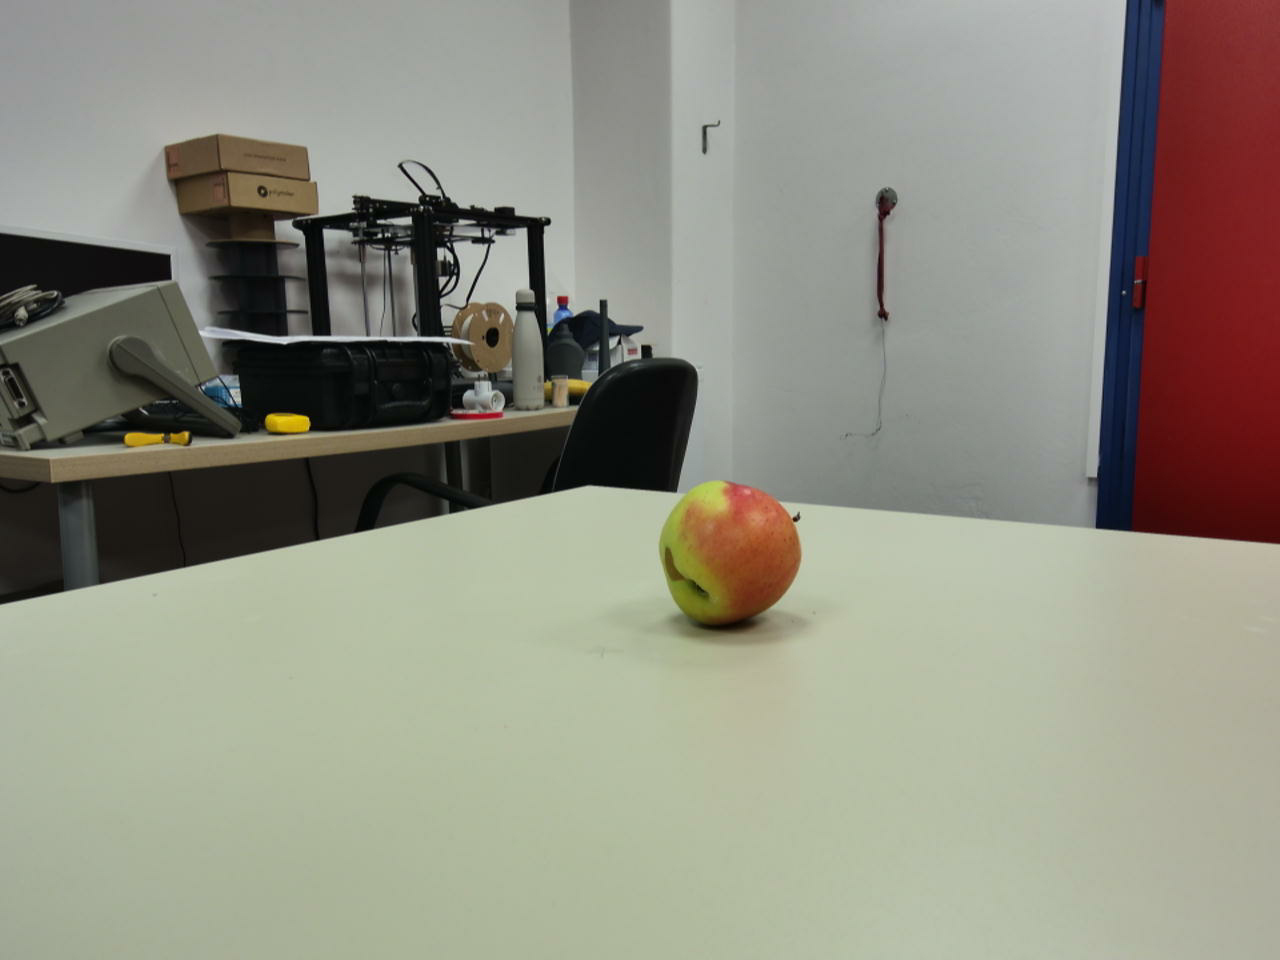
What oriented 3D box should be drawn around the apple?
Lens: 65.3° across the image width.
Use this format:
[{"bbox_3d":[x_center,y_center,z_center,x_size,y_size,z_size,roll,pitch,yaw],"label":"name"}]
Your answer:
[{"bbox_3d":[0.046,0.039,0.534,0.075,0.074,0.075,0,6,16],"label":"apple"}]
